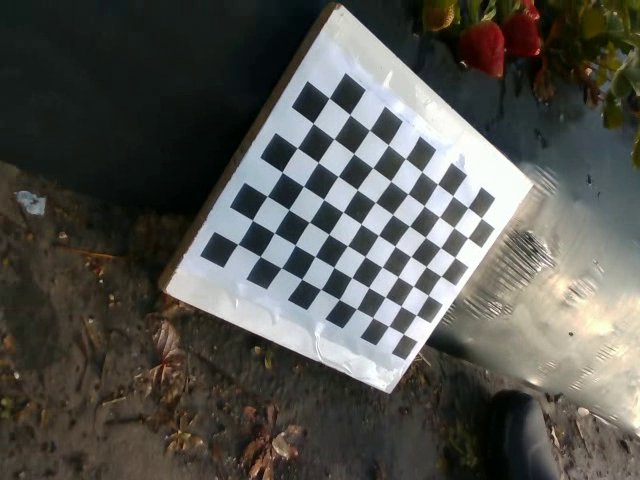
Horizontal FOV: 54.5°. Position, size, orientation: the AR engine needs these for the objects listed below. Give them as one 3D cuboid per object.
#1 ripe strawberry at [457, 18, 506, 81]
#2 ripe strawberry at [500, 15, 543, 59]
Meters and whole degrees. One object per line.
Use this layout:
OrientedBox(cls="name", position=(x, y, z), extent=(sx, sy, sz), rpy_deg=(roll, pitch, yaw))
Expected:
OrientedBox(cls="ripe strawberry", position=(0.162, -0.182, 0.593), extent=(0.050, 0.065, 0.050), rpy_deg=(-12, -30, -20))
OrientedBox(cls="ripe strawberry", position=(0.214, -0.213, 0.654), extent=(0.044, 0.055, 0.042), rpy_deg=(-34, -20, -10))
